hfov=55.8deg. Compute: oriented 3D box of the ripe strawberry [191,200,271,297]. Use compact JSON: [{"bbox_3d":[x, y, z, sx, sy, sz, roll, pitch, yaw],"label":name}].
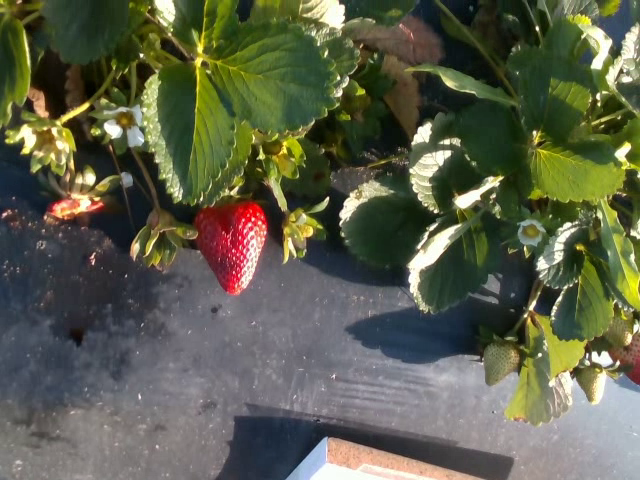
[{"bbox_3d":[-0.051,0.008,0.343,0.052,0.052,0.041,-4,-17,4],"label":"ripe strawberry"}]
